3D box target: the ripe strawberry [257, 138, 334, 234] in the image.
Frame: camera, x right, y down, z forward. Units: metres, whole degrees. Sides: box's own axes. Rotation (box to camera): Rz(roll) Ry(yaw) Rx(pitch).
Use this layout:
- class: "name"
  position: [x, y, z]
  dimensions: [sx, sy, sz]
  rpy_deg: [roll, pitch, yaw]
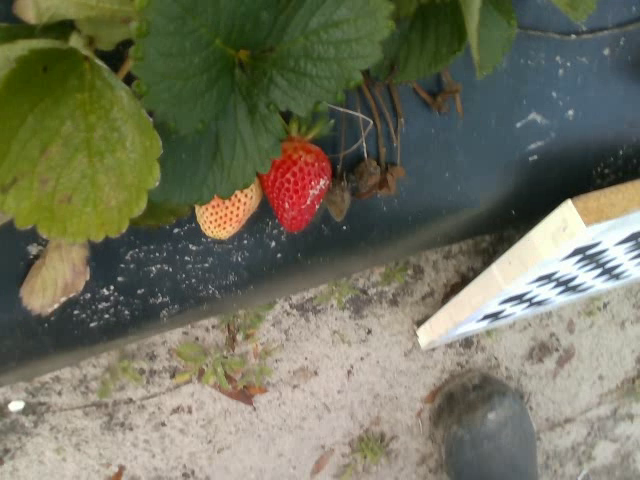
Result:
- class: "ripe strawberry"
  position: [-0.009, -0.020, 0.238]
  dimensions: [0.034, 0.042, 0.033]
  rpy_deg: [3, -1, -45]
